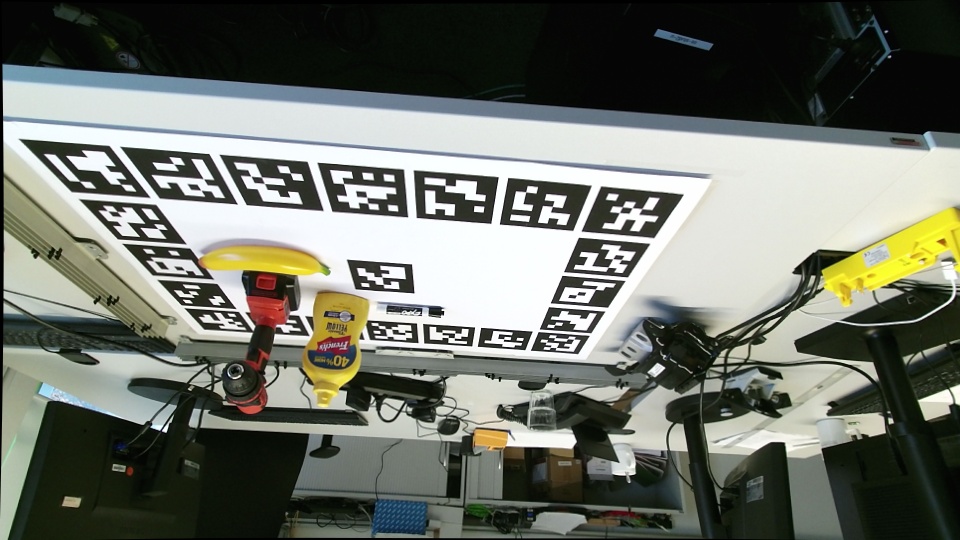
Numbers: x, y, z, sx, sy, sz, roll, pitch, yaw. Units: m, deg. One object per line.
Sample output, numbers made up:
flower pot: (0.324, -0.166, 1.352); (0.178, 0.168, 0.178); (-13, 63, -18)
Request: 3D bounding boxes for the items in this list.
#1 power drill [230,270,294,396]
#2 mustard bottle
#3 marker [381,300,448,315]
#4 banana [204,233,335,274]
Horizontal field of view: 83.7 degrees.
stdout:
power drill: (-0.350, 0.098, 0.860); (0.057, 0.186, 0.185); (13, 148, -13)
mustard bottle: (-0.249, 0.127, 0.929); (0.096, 0.190, 0.058); (11, 146, -11)
marker: (-0.121, 0.070, 0.990); (0.121, 0.019, 0.020); (5, 146, -5)
banana: (-0.329, -0.028, 0.838); (0.198, 0.038, 0.074); (7, 145, -11)
